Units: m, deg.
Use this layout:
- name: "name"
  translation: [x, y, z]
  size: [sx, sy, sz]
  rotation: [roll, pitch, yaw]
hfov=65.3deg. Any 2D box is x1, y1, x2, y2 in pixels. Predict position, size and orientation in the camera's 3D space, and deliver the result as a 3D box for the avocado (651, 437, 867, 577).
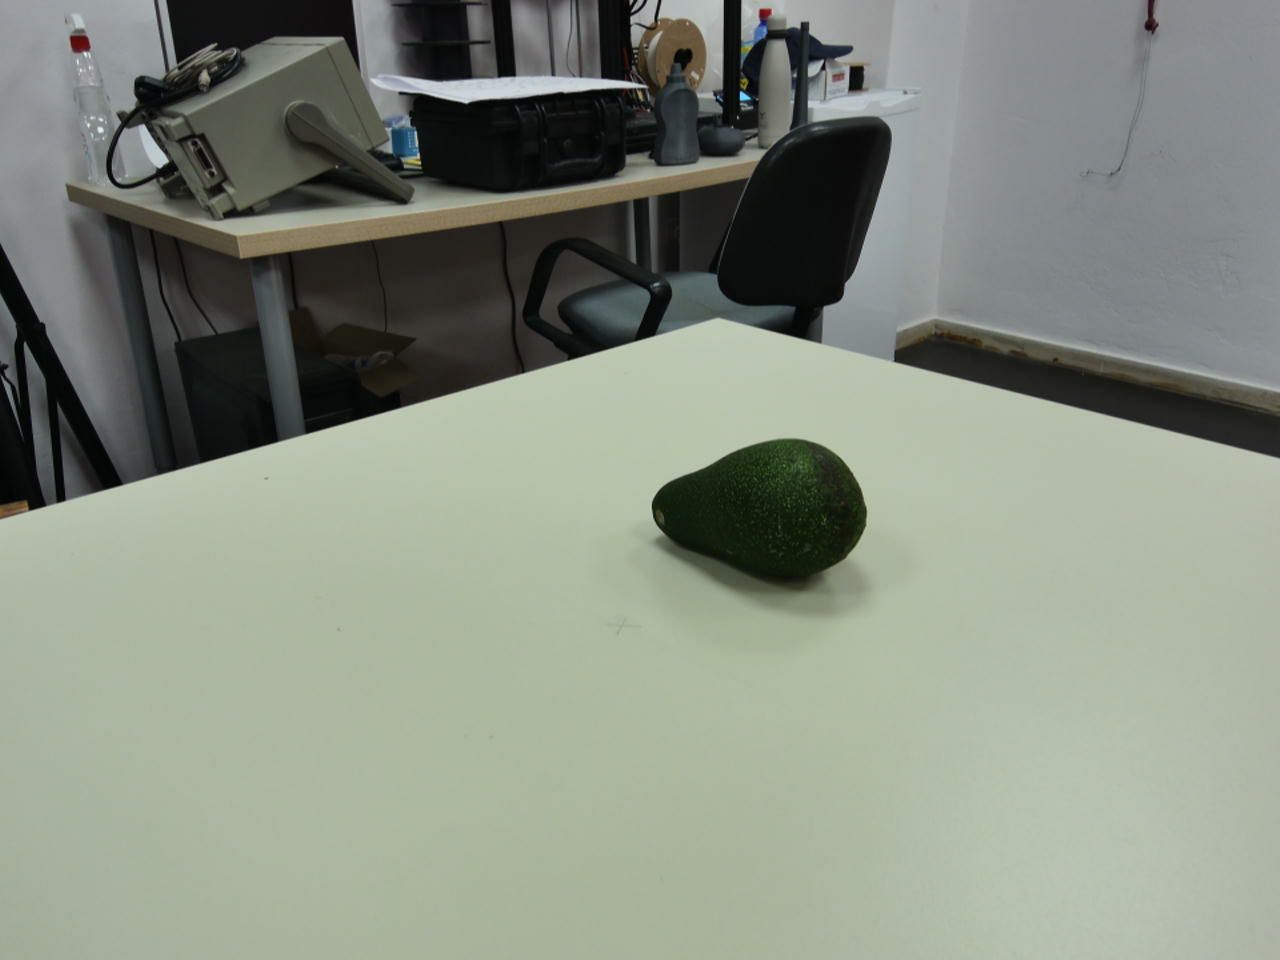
- name: "avocado"
  translation: [0.069, 0.010, 0.542]
  size: [0.074, 0.076, 0.123]
  rotation: [-16, 28, -32]
